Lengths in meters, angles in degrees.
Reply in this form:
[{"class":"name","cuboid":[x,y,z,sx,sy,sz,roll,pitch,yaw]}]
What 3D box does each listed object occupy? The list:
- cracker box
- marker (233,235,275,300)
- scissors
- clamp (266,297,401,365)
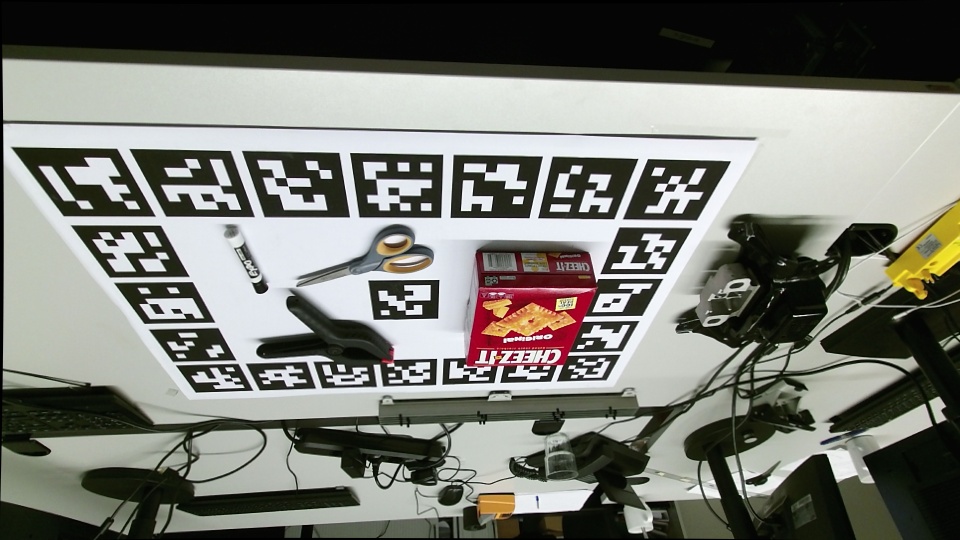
[{"class":"cracker box","cuboid":[0.073,0.069,0.802,0.165,0.071,0.214,0,140,-8]},{"class":"marker","cuboid":[-0.297,0.000,0.709,0.020,0.019,0.121,-3,141,-4]},{"class":"scissors","cuboid":[-0.155,0.001,0.729,0.203,0.016,0.088,-18,141,18]},{"class":"clamp","cuboid":[-0.220,0.118,0.871,0.204,0.036,0.165,21,135,-28]}]
